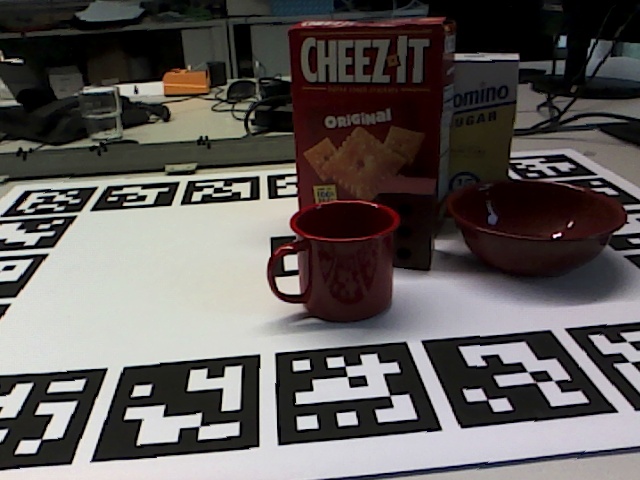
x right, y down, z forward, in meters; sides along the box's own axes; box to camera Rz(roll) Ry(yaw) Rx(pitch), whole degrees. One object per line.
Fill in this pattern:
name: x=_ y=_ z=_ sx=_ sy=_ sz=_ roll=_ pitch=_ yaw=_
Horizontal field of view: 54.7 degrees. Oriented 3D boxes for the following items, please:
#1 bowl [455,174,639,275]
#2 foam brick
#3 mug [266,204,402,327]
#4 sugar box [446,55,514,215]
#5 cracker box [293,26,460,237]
bowl: x=0.210 y=-0.012 z=0.591 sx=0.161 sy=0.055 sz=0.162 roll=-2 pitch=26 yaw=1
foam brick: x=0.085 y=-0.013 z=0.612 sx=0.053 sy=0.078 sz=0.051 roll=2 pitch=24 yaw=10
mug: x=0.013 y=0.023 z=0.518 sx=0.117 sy=0.081 sz=0.094 roll=-10 pitch=17 yaw=-11
sugar box: x=0.166 y=-0.116 z=0.700 sx=0.093 sy=0.176 sz=0.045 roll=4 pitch=25 yaw=15
cracker box: x=0.057 y=-0.118 z=0.674 sx=0.165 sy=0.213 sz=0.072 roll=9 pitch=25 yaw=22
